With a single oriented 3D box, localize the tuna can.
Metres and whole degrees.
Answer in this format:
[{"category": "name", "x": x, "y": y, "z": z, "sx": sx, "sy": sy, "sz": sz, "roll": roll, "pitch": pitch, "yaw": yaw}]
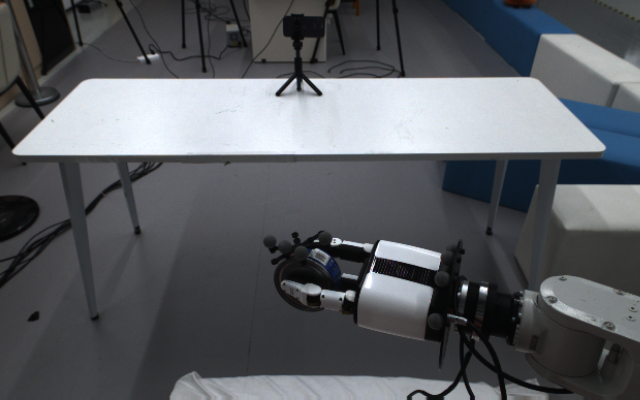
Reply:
[{"category": "tuna can", "x": -0.013, "y": 0.109, "z": 0.639, "sx": 0.085, "sy": 0.085, "sz": 0.034, "roll": 13, "pitch": 28, "yaw": 15}]
